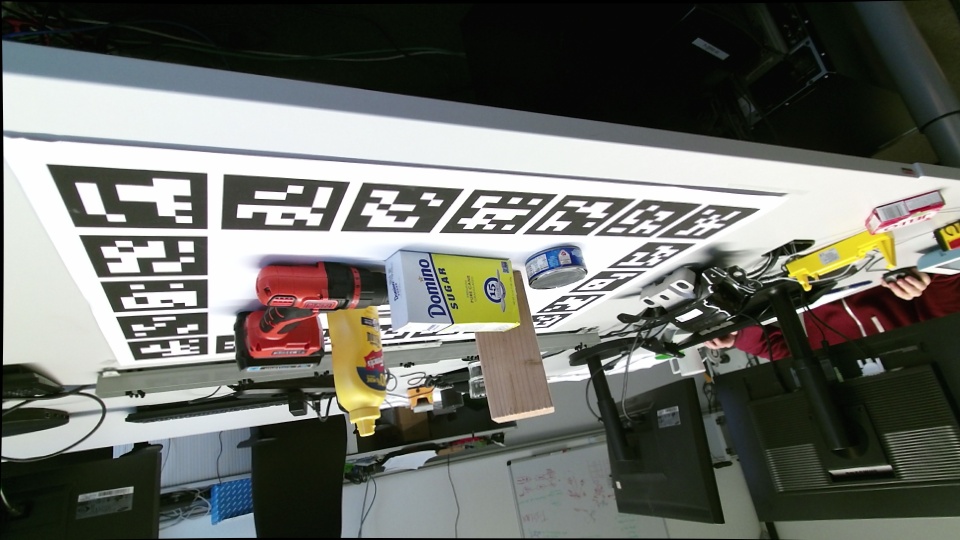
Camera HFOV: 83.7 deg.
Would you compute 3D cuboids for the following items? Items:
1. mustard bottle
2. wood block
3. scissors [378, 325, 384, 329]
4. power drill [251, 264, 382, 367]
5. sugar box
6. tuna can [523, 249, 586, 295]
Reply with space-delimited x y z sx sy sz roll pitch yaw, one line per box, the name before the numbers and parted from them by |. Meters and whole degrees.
mustard bottle | -0.171 0.135 0.742 0.058 0.190 0.096 -19 156 10
wood block | 0.042 0.118 0.809 0.091 0.205 0.090 -14 156 -1
scissors | -0.089 0.089 0.885 0.203 0.016 0.088 -1 157 -29
power drill | -0.206 0.061 0.702 0.185 0.057 0.187 6 143 -39
sugar box | -0.040 0.033 0.691 0.177 0.092 0.045 7 153 -37
tuna can | 0.106 0.004 0.769 0.086 0.033 0.086 -11 156 -5
